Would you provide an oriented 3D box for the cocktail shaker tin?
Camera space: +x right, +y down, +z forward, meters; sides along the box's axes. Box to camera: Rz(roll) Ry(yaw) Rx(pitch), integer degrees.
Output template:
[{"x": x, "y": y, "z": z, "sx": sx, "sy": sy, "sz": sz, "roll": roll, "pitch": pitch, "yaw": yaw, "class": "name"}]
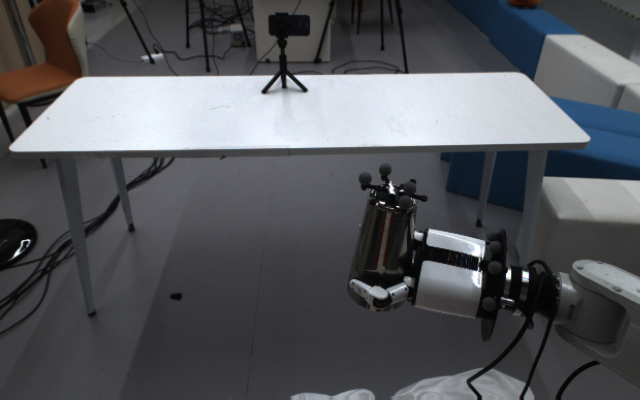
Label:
[{"x": 0.092, "y": 0.065, "z": 0.690, "sx": 0.093, "sy": 0.170, "sz": 0.093, "roll": 3, "pitch": 34, "yaw": -2, "class": "cocktail shaker tin"}]
